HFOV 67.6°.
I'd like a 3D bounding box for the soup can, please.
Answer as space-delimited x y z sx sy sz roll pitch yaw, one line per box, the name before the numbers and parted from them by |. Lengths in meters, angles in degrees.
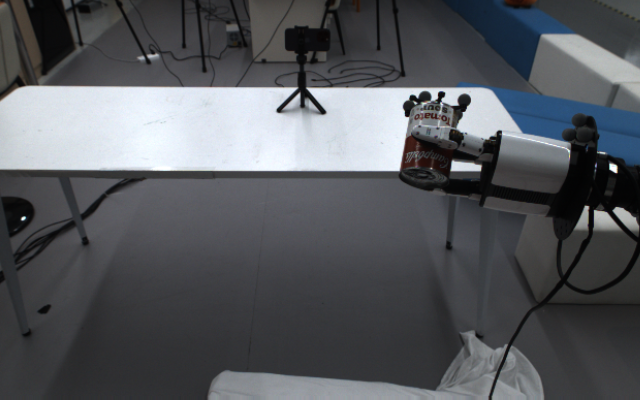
soup can | 0.149 -0.077 0.661 0.067 0.067 0.101 9 72 10
